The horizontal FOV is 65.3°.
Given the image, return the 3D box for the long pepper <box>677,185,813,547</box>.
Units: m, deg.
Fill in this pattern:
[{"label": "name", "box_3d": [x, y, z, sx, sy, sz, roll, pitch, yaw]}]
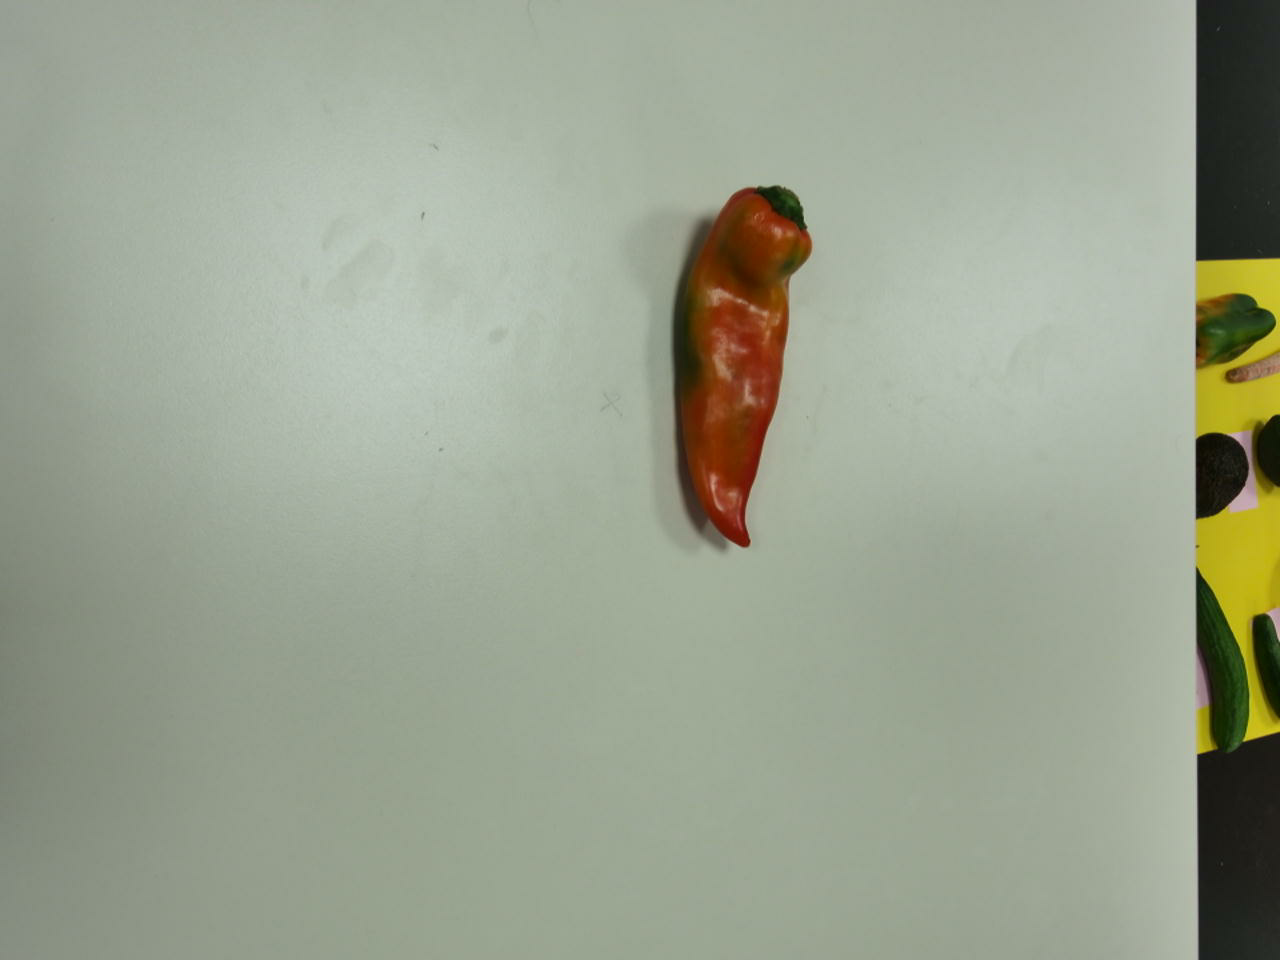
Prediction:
[{"label": "long pepper", "box_3d": [0.060, -0.063, 0.558, 0.066, 0.065, 0.199, 5, 89, -22]}]
